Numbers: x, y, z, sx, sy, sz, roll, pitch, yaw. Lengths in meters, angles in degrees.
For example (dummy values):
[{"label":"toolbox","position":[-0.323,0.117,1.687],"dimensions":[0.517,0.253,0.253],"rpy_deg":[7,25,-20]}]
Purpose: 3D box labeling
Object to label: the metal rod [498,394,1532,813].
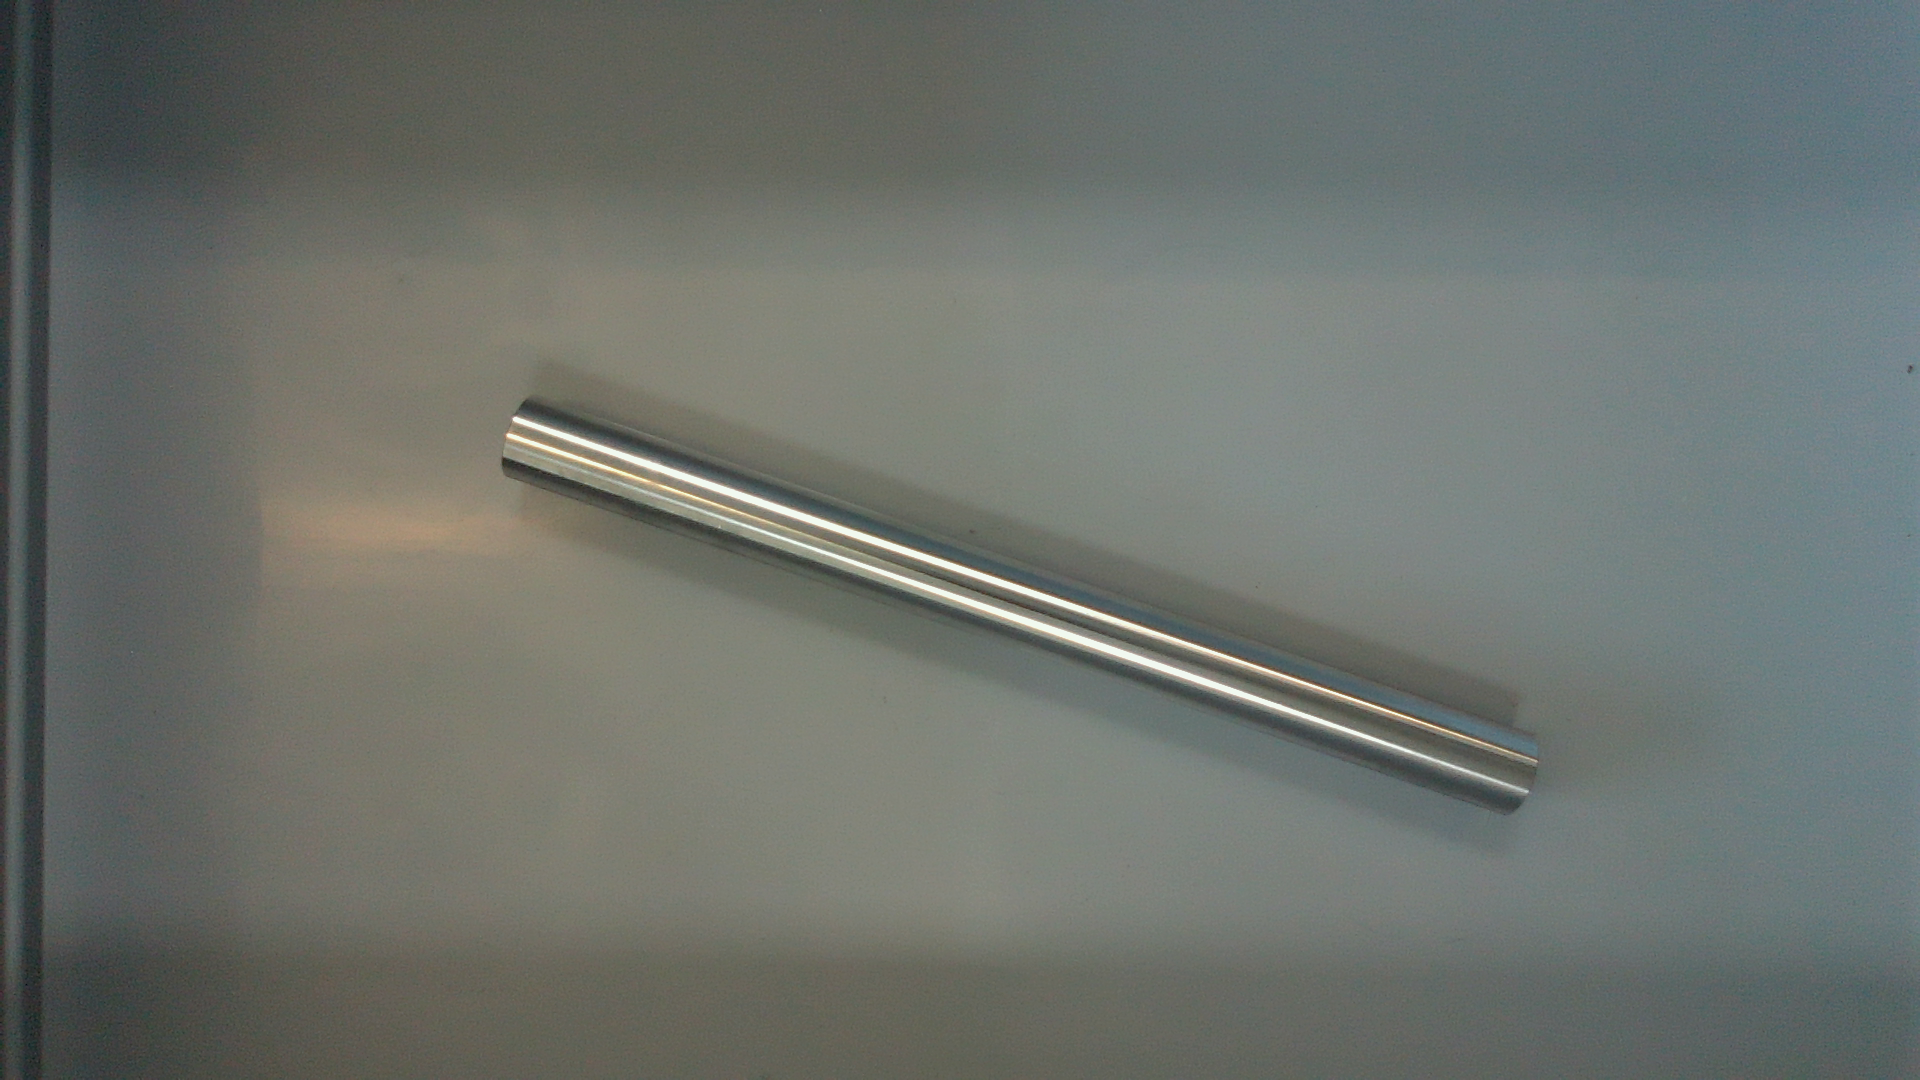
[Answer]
[{"label":"metal rod","position":[0.016,0.018,0.394],"dimensions":[0.300,0.025,0.025],"rpy_deg":[19,90,0]}]
